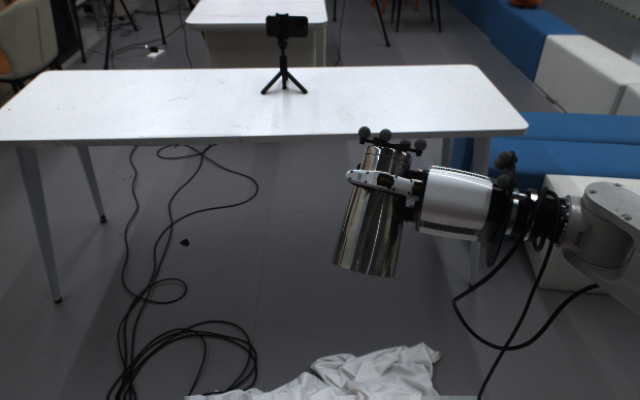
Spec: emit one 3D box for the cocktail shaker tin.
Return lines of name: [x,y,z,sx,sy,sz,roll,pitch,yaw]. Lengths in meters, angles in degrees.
cocktail shaker tin: [0.082,0.012,0.683,0.093,0.170,0.093,13,1,0]
